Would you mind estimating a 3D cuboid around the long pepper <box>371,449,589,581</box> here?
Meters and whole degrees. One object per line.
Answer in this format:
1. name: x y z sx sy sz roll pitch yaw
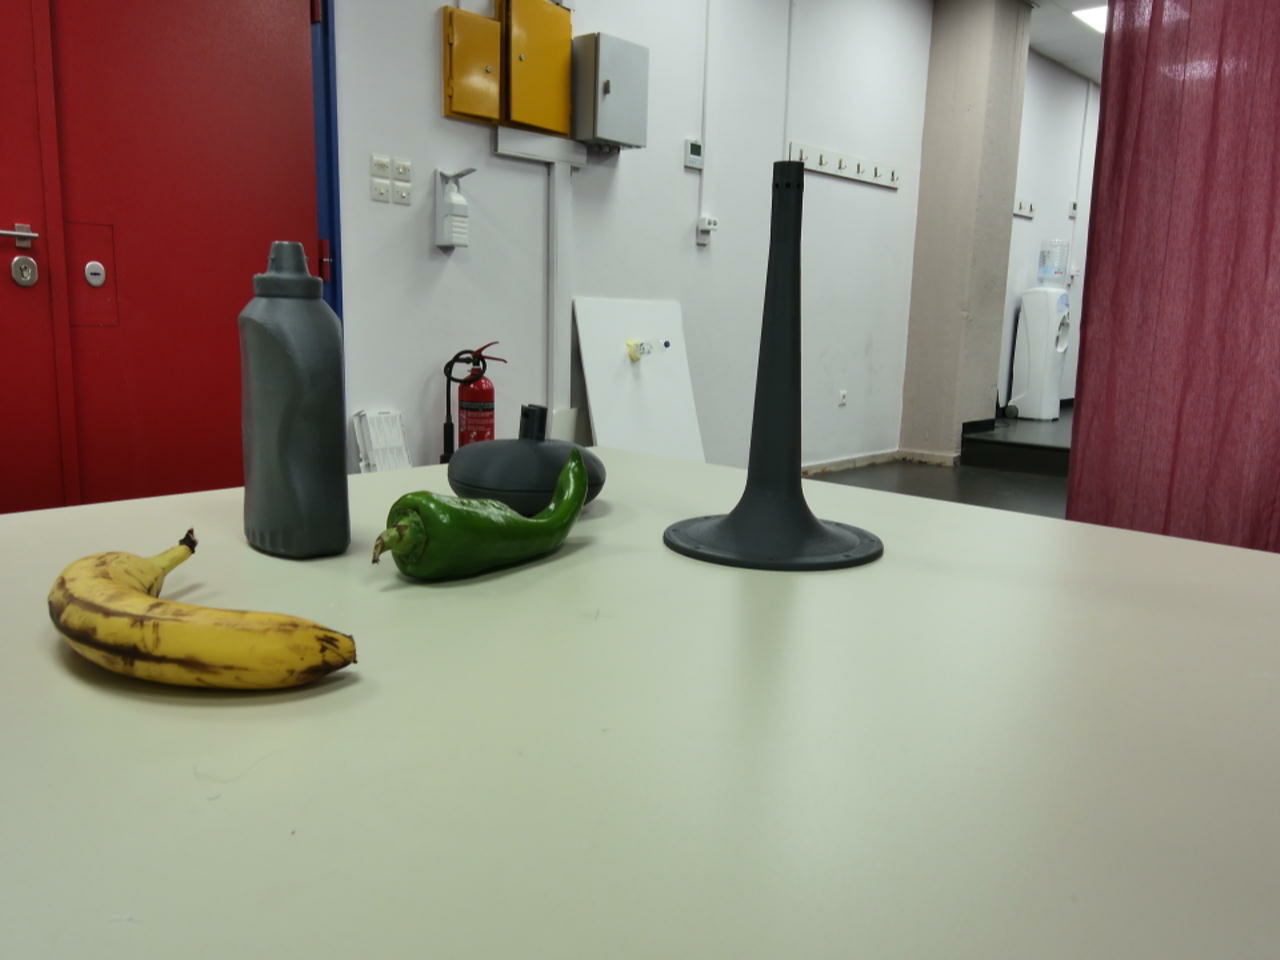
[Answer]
1. long pepper: -0.089 0.020 0.610 0.058 0.065 0.175 8 10 40
